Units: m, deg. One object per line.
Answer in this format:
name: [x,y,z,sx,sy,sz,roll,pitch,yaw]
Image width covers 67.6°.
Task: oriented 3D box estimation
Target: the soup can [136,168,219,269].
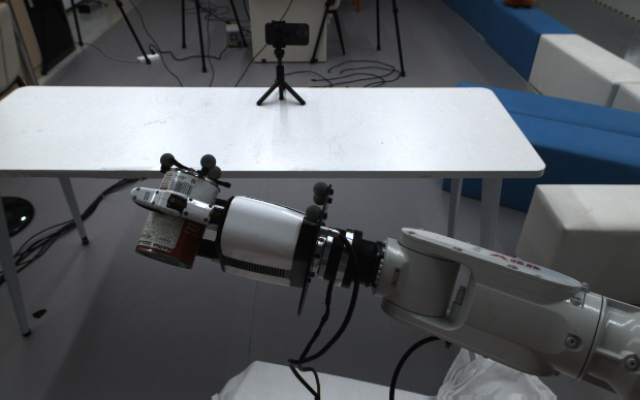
soup can: [-0.164,0.023,0.567,0.067,0.067,0.101,11,72,13]
